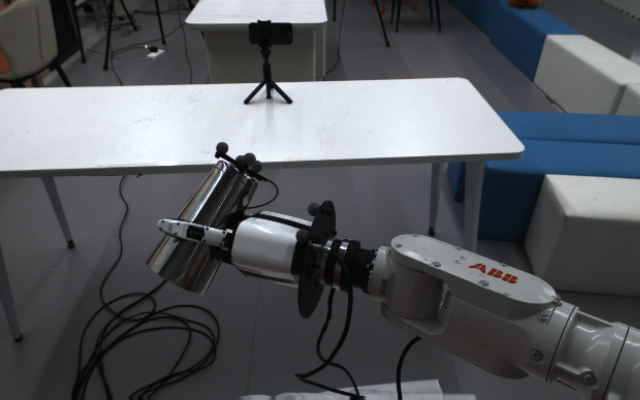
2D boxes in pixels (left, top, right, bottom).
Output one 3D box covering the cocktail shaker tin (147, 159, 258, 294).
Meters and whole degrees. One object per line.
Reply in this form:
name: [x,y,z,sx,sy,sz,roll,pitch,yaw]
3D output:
cocktail shaker tin: [-0.157,0.030,0.675,0.093,0.093,0.170,26,83,31]
